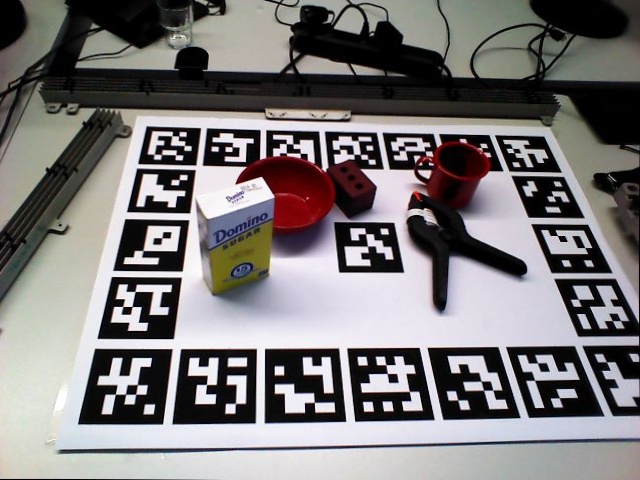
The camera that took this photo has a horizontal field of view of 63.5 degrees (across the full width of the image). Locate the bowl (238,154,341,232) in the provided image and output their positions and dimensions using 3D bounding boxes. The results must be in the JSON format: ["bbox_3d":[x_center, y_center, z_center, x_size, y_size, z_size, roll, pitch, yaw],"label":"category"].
[{"bbox_3d":[-0.050,-0.066,0.829,0.162,0.055,0.160,3,53,-4],"label":"bowl"}]

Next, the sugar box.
[{"bbox_3d":[-0.110,0.003,0.695,0.092,0.177,0.045,-21,59,-21],"label":"sugar box"}]

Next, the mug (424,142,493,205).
[{"bbox_3d":[0.233,-0.118,0.875,0.117,0.082,0.092,22,54,7],"label":"mug"}]

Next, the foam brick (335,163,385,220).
[{"bbox_3d":[0.064,-0.083,0.862,0.052,0.051,0.078,-24,60,-20],"label":"foam brick"}]

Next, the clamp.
[{"bbox_3d":[0.208,-0.005,0.810,0.165,0.037,0.202,-21,58,-17],"label":"clamp"}]
